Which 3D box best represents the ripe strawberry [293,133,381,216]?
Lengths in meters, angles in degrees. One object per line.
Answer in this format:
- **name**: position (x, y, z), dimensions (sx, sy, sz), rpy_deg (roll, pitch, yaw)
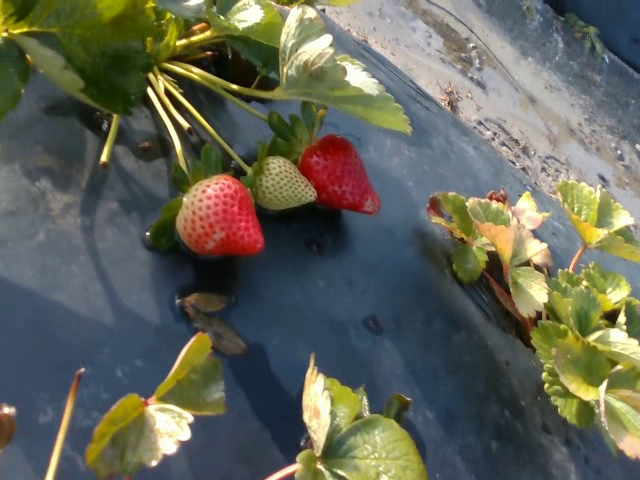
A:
- **ripe strawberry**: position (0.015, -0.035, 0.376), dimensions (0.048, 0.065, 0.050), rpy_deg (-42, 2, -7)
